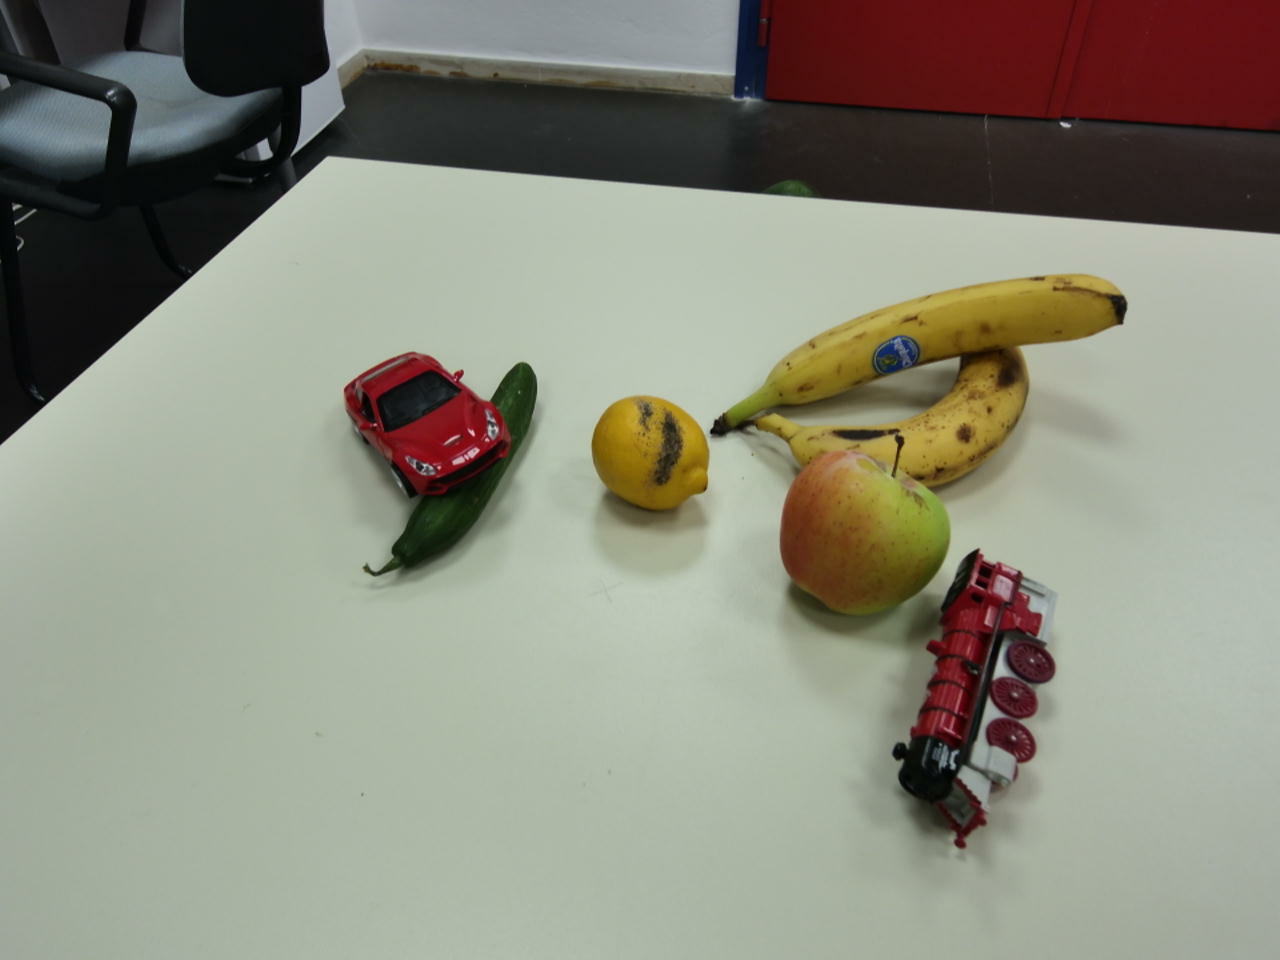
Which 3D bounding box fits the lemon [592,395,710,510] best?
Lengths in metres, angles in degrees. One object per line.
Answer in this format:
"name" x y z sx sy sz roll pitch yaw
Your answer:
"lemon" 0.006 -0.014 0.518 0.061 0.056 0.058 2 39 4
